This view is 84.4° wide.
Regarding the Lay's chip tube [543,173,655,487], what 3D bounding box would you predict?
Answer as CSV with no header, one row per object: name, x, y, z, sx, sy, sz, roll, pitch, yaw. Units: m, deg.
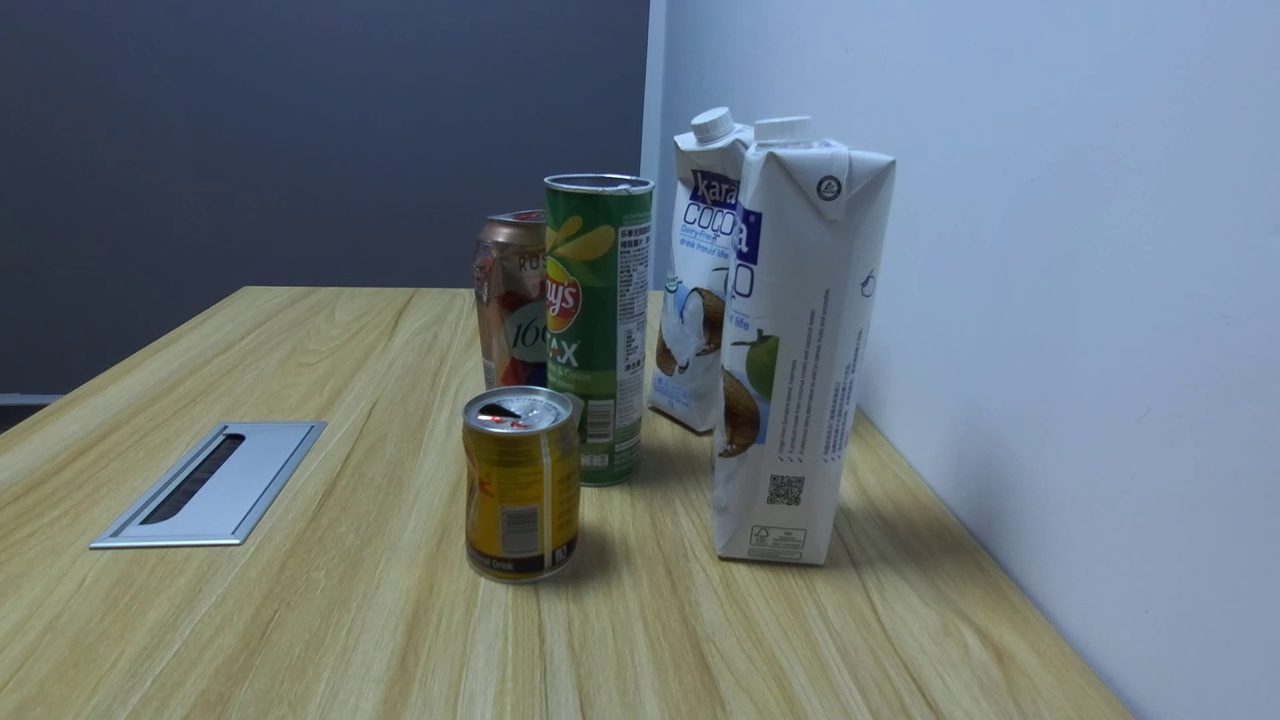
Lay's chip tube,-0.028,-0.020,0.480,0.071,0.202,0.071,1,21,0

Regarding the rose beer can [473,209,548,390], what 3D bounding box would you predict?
rose beer can,-0.087,-0.028,0.555,0.076,0.167,0.065,-8,16,-21

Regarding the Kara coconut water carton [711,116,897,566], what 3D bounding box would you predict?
Kara coconut water carton,0.086,-0.007,0.399,0.075,0.245,0.077,4,20,1

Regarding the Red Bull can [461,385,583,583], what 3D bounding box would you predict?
Red Bull can,-0.068,0.068,0.401,0.069,0.092,0.069,3,22,-1
